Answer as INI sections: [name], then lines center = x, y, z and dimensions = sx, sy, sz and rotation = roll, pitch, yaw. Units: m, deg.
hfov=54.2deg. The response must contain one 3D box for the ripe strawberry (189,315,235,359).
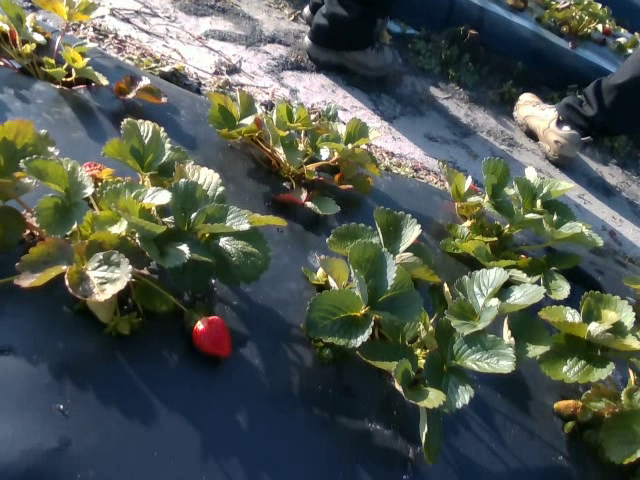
[ripe strawberry]
center = -0.079, 0.079, 0.471
dimensions = 0.030, 0.045, 0.033
rotation = -36, -30, -8
